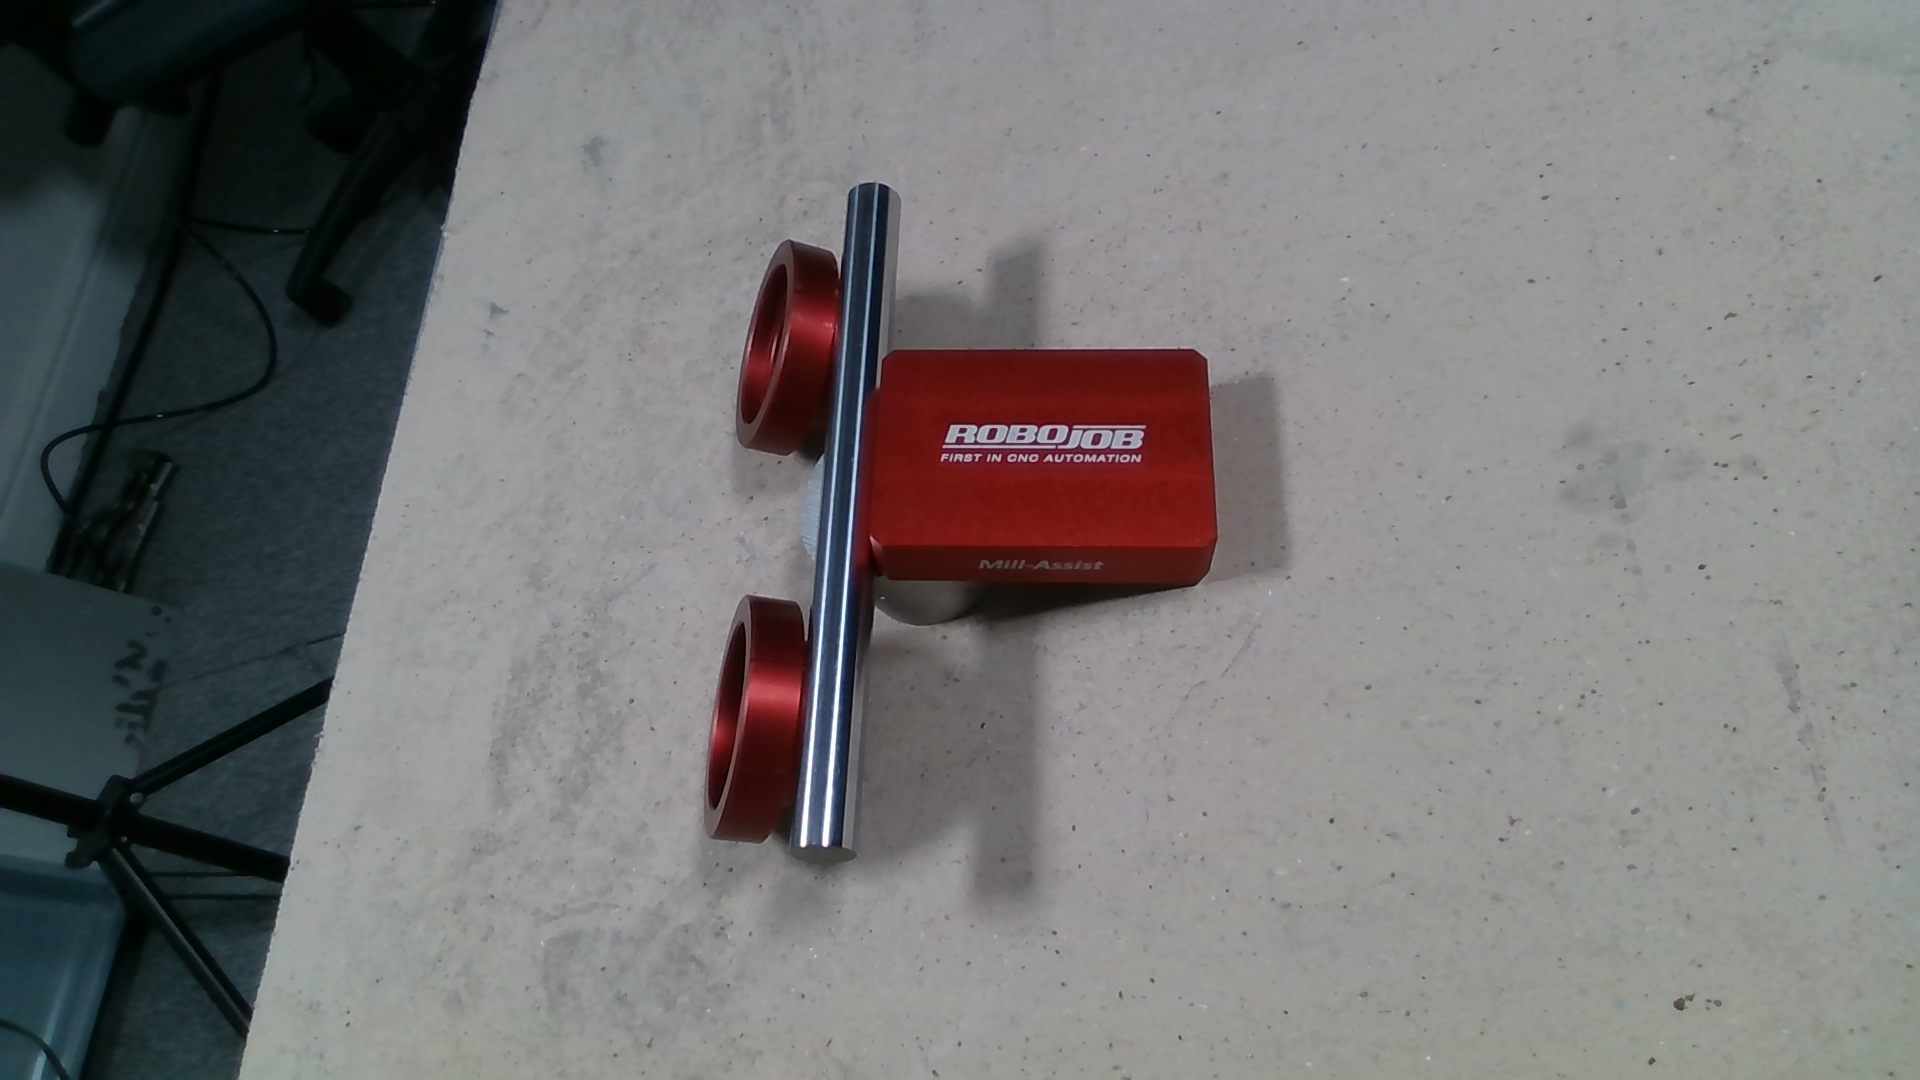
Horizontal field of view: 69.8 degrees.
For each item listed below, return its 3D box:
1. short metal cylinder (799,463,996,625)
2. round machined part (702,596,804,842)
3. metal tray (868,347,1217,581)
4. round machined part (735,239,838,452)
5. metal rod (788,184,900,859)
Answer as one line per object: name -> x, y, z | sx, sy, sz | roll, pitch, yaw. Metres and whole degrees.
short metal cylinder -> -0.021, -0.010, 0.589 | 0.080, 0.050, 0.080 | -14, 59, 25
round machined part -> -0.075, 0.073, 0.559 | 0.098, 0.042, 0.098 | -171, 91, -74
metal tray -> 0.032, -0.031, 0.544 | 0.130, 0.030, 0.090 | 0, 63, 3
round machined part -> -0.072, -0.087, 0.645 | 0.098, 0.042, 0.098 | -170, 91, -69
metal rod -> -0.044, -0.021, 0.560 | 0.025, 0.025, 0.299 | -12, 60, 26
